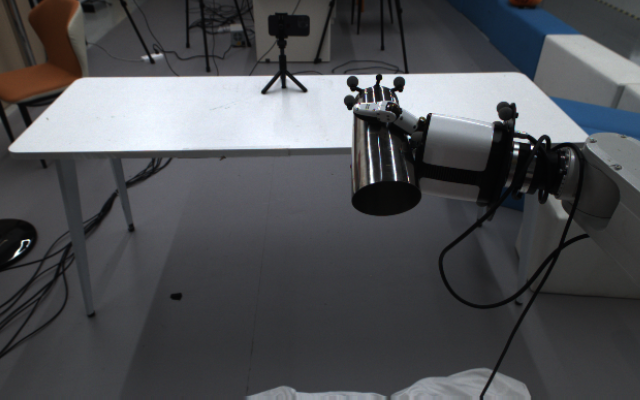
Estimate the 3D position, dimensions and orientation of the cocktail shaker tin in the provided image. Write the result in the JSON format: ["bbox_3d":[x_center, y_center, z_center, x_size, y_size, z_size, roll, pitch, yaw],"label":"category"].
[{"bbox_3d":[0.084,-0.075,0.672,0.093,0.093,0.170,0,59,-3],"label":"cocktail shaker tin"}]
